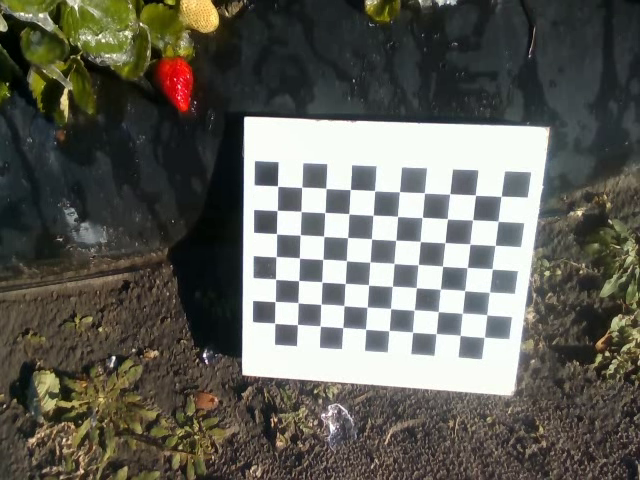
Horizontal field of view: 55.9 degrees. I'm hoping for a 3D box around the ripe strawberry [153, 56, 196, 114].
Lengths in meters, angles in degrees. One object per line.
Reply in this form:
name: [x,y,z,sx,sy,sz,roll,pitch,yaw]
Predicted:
ripe strawberry: [-0.139,-0.146,0.571,0.041,0.052,0.040,-14,4,6]
